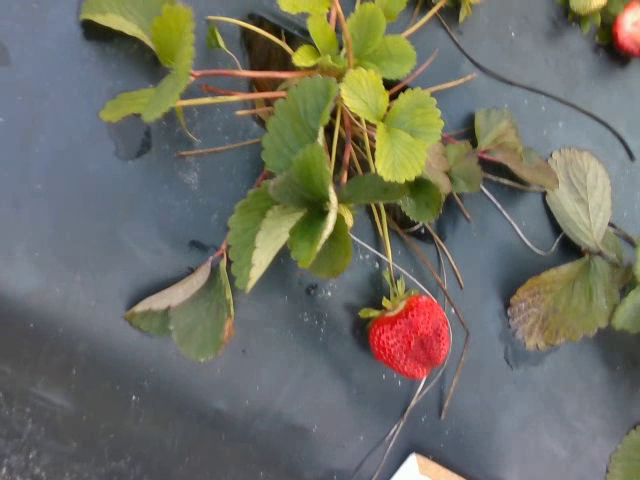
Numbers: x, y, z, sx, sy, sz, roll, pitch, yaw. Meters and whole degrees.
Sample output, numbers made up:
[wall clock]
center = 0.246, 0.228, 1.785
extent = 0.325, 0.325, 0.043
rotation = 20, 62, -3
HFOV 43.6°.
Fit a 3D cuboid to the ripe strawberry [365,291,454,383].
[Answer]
[ripe strawberry]
center = 0.015, 0.018, 0.131
extent = 0.017, 0.015, 0.013
rotation = -33, -27, 9
